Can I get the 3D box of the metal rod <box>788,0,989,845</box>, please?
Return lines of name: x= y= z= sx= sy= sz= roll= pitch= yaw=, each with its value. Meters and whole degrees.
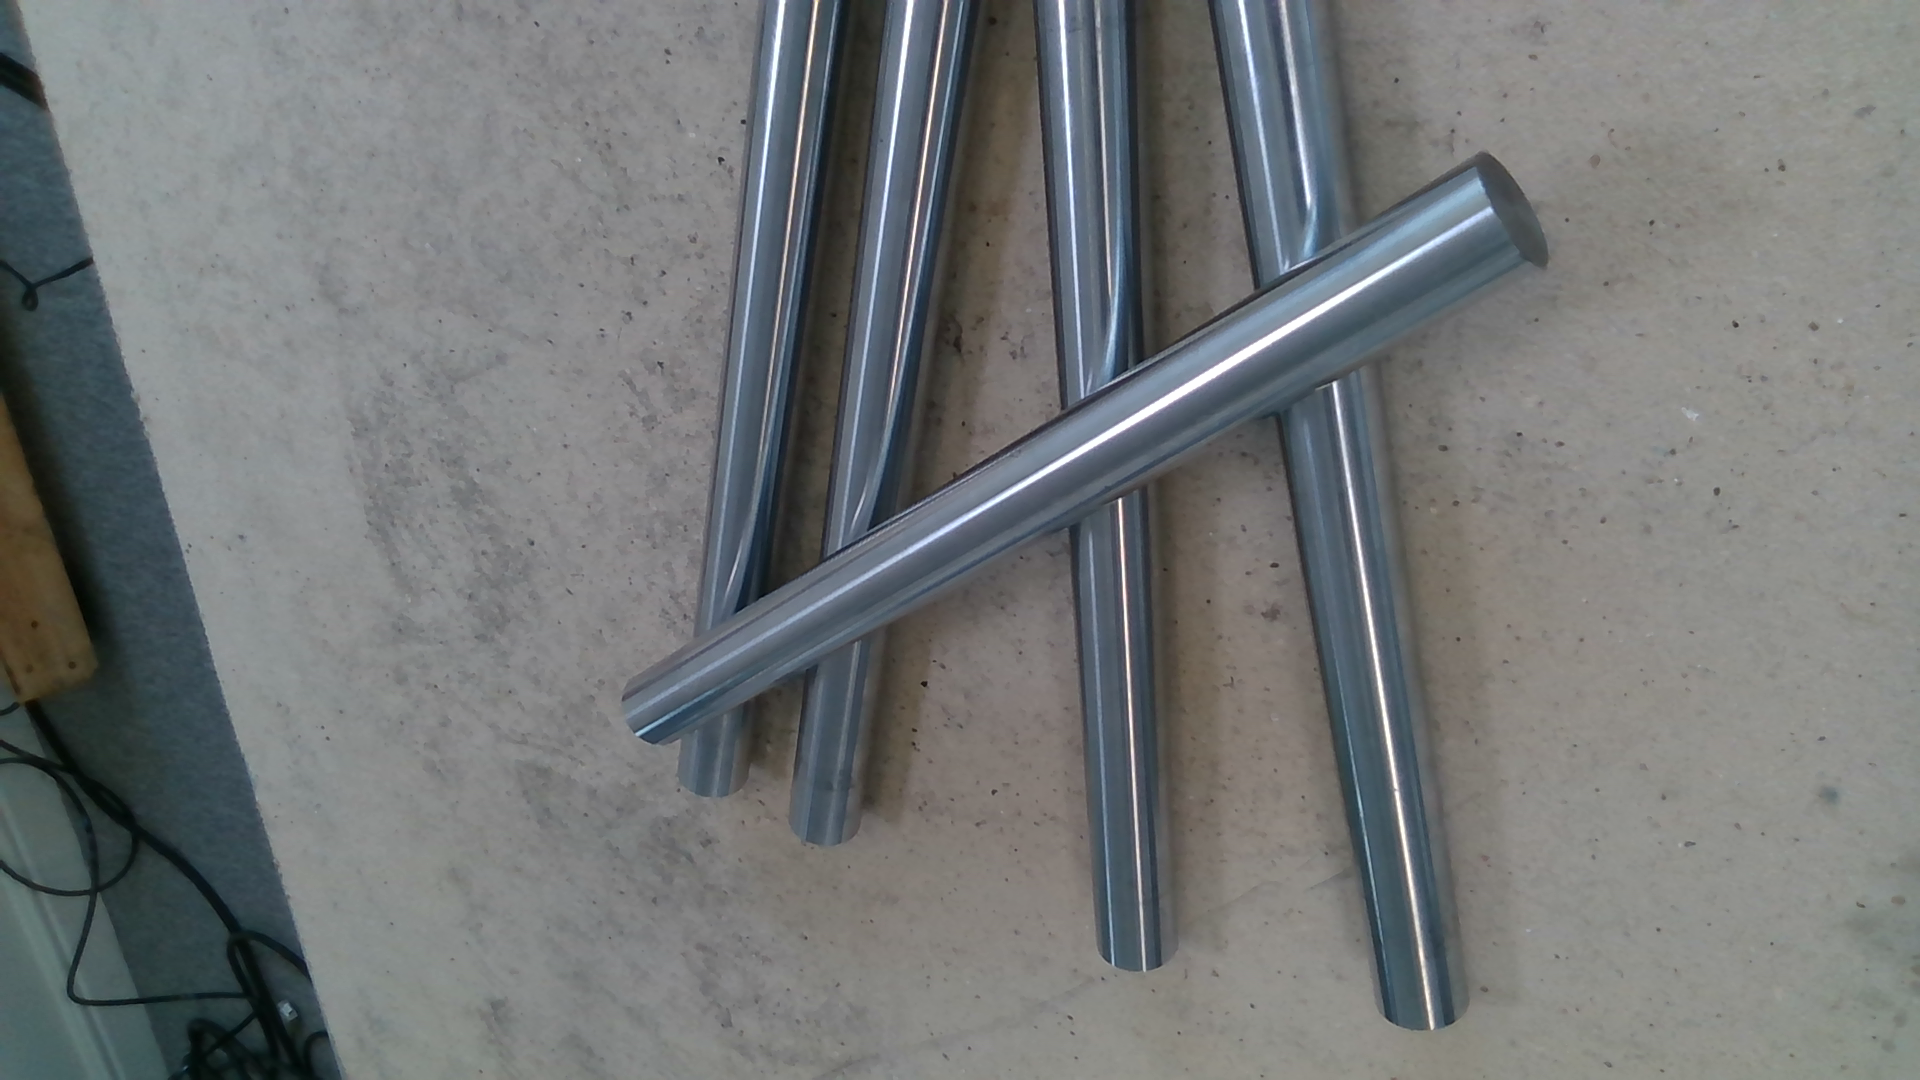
metal rod: x=-0.024 y=-0.029 z=0.388 sx=0.025 sy=0.025 sz=0.301 roll=24 pitch=125 yaw=19

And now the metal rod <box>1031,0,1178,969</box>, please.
metal rod: x=0.040 y=-0.011 z=0.359 sx=0.025 sy=0.025 sz=0.301 roll=9 pitch=120 yaw=28

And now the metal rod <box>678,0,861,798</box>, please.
metal rod: x=-0.059 y=-0.039 z=0.404 sx=0.025 sy=0.025 sz=0.301 roll=26 pitch=126 yaw=18

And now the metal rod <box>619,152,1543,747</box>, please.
metal rod: x=0.002 y=-0.004 z=0.353 sx=0.300 sy=0.025 sz=0.025 roll=-30 pitch=97 yaw=39

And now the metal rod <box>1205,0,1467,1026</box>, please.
metal rod: x=0.091 y=-0.010 z=0.328 sx=0.025 sy=0.025 sz=0.301 roll=-1 pitch=115 yaw=32
